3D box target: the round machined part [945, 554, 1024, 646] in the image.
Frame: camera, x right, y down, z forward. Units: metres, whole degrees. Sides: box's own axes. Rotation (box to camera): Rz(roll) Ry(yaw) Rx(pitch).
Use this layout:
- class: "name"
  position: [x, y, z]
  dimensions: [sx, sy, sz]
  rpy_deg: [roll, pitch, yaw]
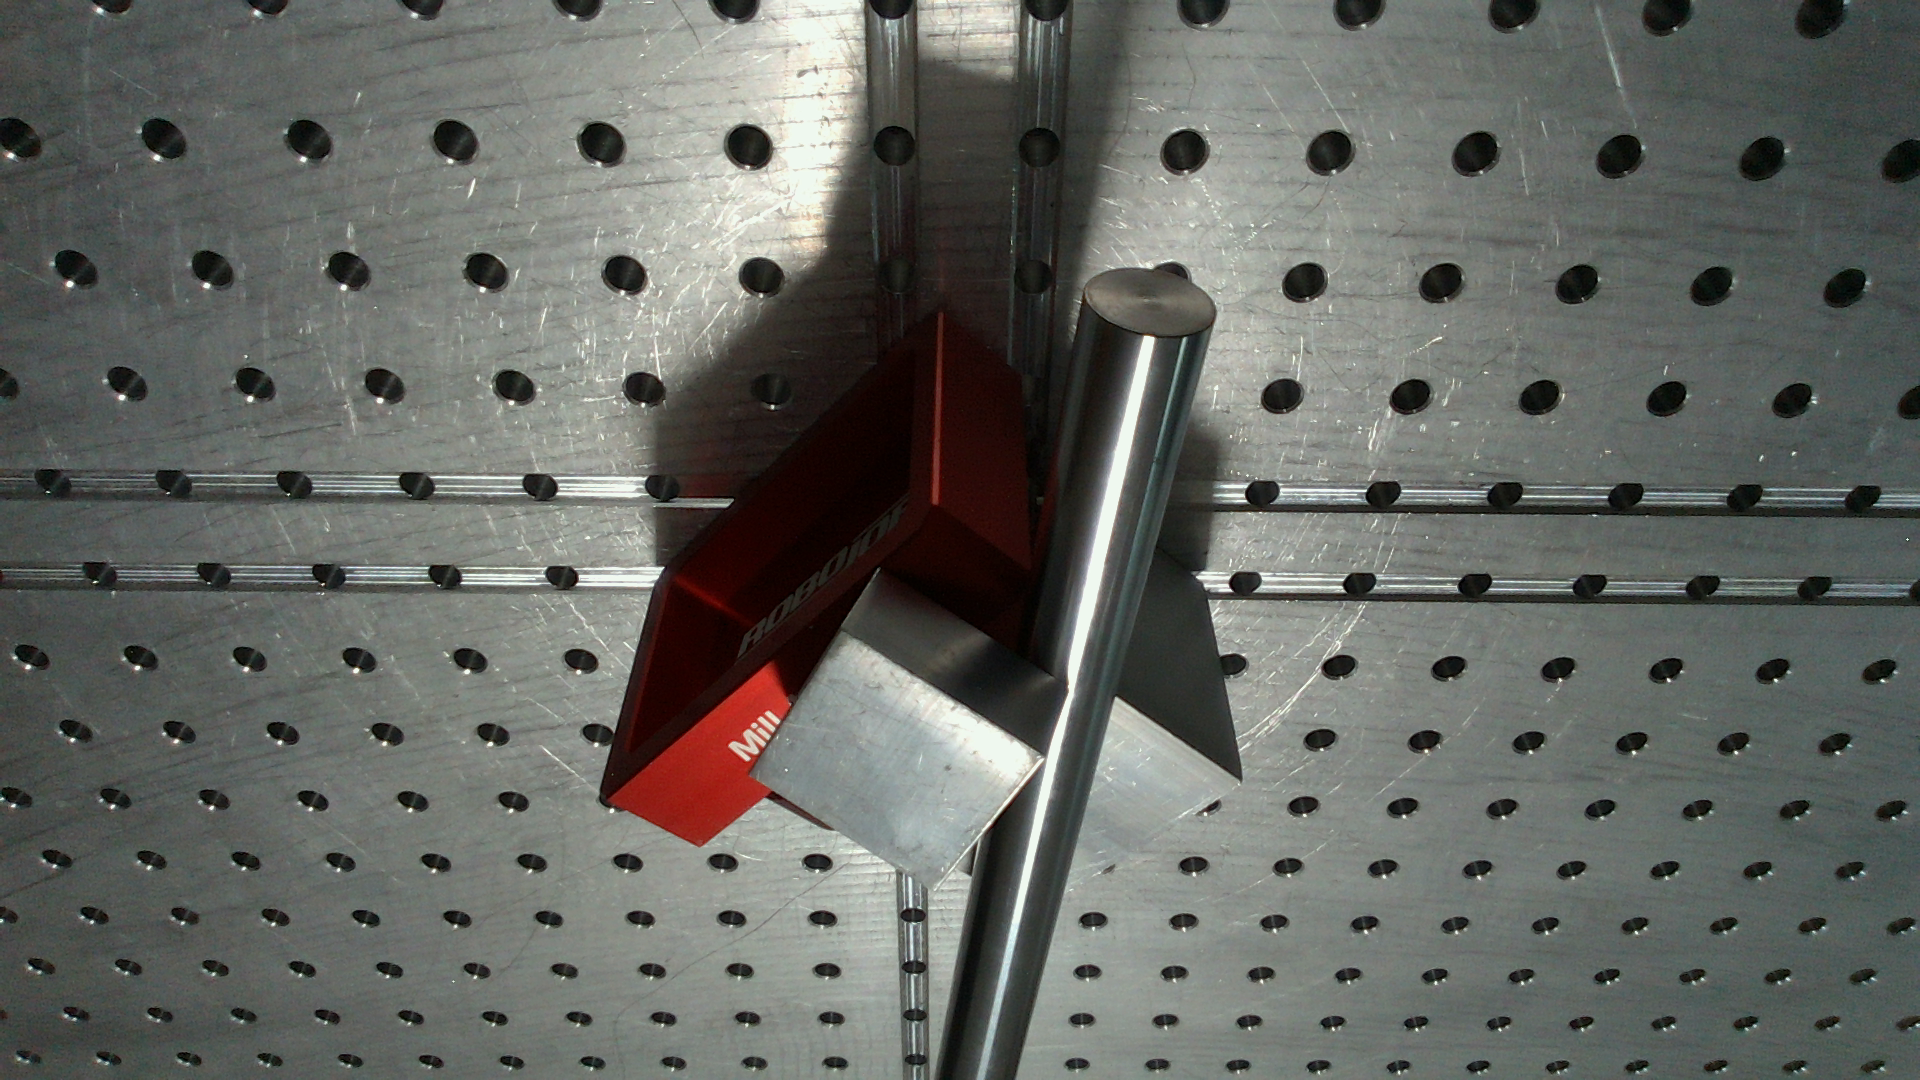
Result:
- class: "round machined part"
  position: [-0.016, 0.030, 0.376]
  dimensions: [0.042, 0.098, 0.098]
  rpy_deg: [35, 122, -26]

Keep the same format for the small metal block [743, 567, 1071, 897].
- class: "small metal block"
  position: [-0.012, 0.043, 0.302]
  dimensions: [0.050, 0.025, 0.050]
  rpy_deg: [33, 123, -2]

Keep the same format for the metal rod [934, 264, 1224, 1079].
- class: "metal rod"
  position: [0.019, 0.070, 0.348]
  dimensions: [0.025, 0.025, 0.300]
  rpy_deg: [5, 130, -4]

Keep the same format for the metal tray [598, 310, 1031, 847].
- class: "metal tray"
  position: [-0.038, 0.010, 0.360]
  dimensions: [0.030, 0.090, 0.130]
  rpy_deg: [35, 122, -26]

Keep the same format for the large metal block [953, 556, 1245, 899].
- class: "large metal block"
  position: [0.029, 0.050, 0.396]
  dimensions: [0.050, 0.080, 0.080]
  rpy_deg: [35, 122, -26]
